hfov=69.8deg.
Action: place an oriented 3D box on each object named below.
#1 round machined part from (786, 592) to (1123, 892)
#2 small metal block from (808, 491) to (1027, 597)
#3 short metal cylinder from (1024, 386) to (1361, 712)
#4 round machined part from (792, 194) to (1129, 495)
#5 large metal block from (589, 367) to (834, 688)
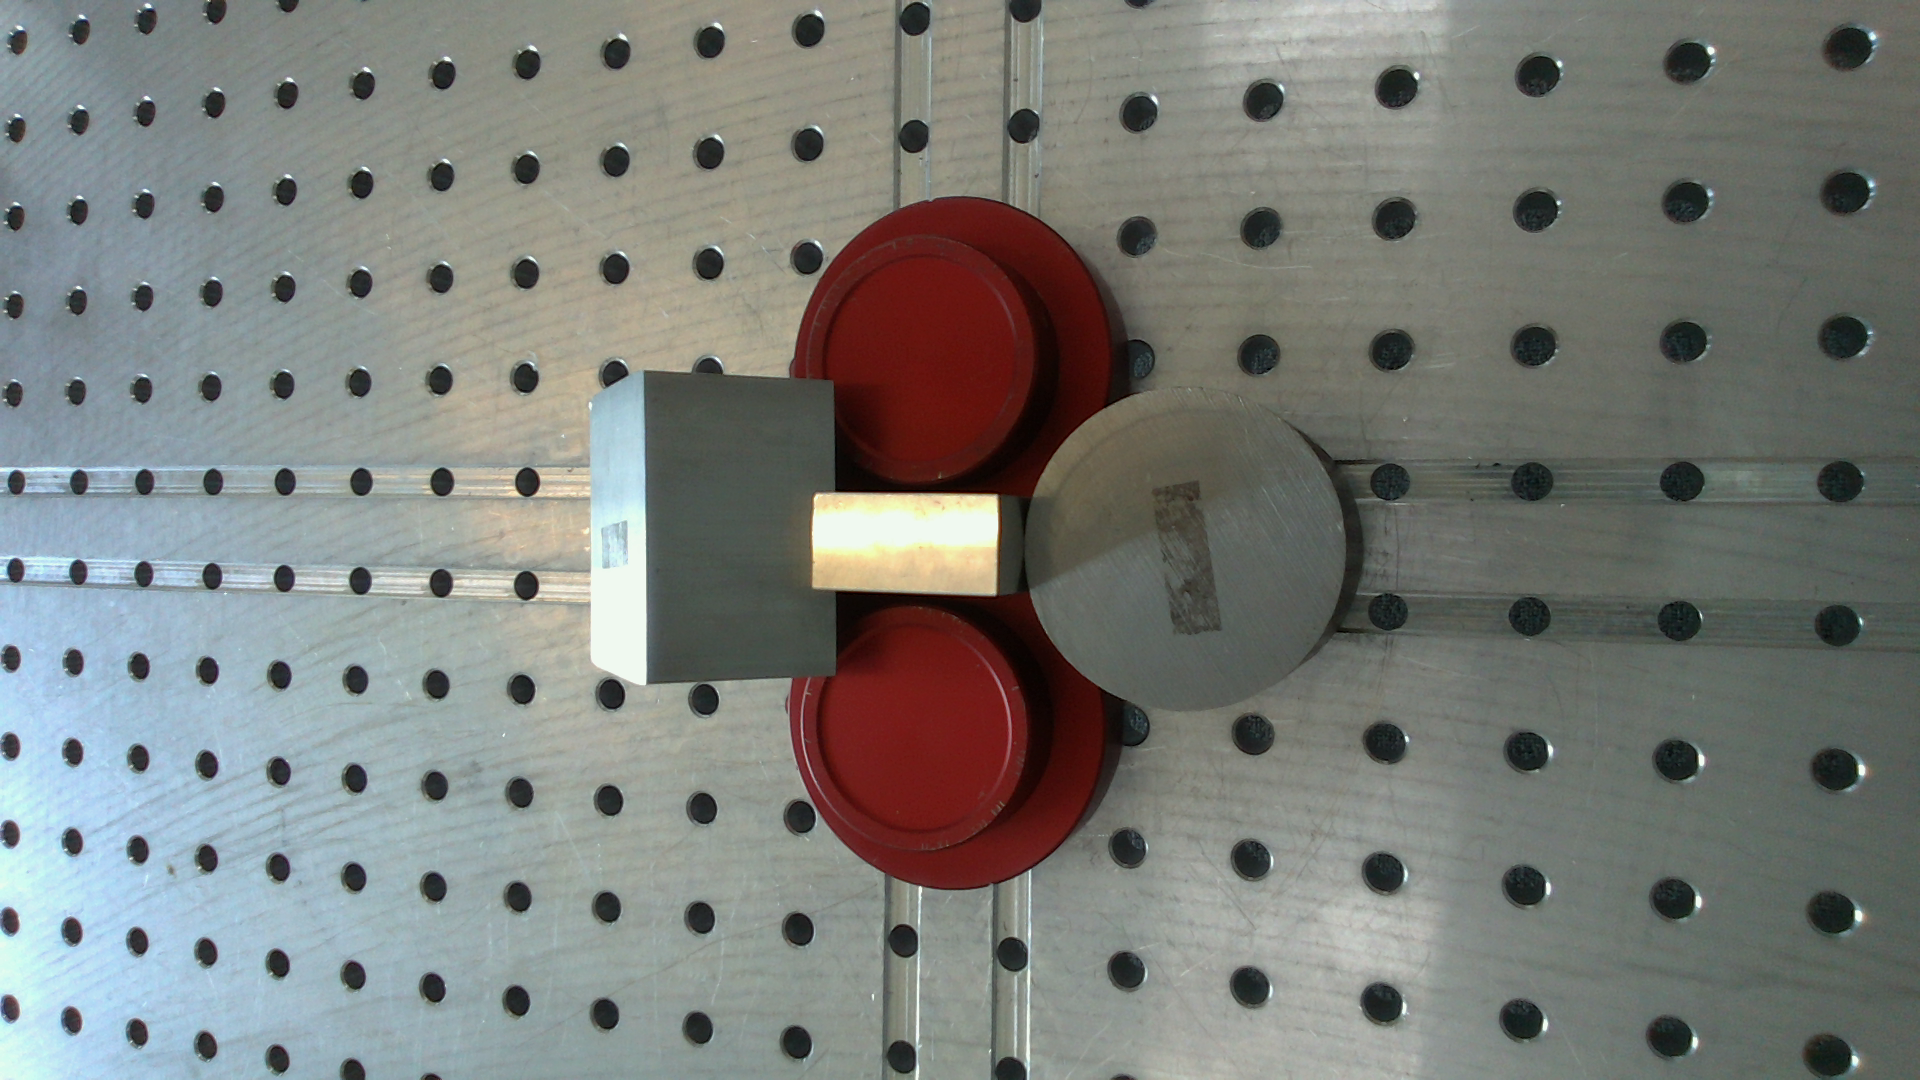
[{"bbox_3d":[-0.006,0.051,0.392,0.098,0.042,0.098,0,90,20],"label":"round machined part"},{"bbox_3d":[-0.006,0.001,0.364,0.050,0.050,0.025,1,91,20],"label":"small metal block"},{"bbox_3d":[0.062,0.002,0.362,0.080,0.050,0.080,0,90,20],"label":"short metal cylinder"},{"bbox_3d":[-0.005,-0.049,0.391,0.098,0.042,0.098,0,90,20],"label":"round machined part"},{"bbox_3d":[-0.073,-0.003,0.389,0.050,0.080,0.080,-1,90,-24],"label":"large metal block"}]
